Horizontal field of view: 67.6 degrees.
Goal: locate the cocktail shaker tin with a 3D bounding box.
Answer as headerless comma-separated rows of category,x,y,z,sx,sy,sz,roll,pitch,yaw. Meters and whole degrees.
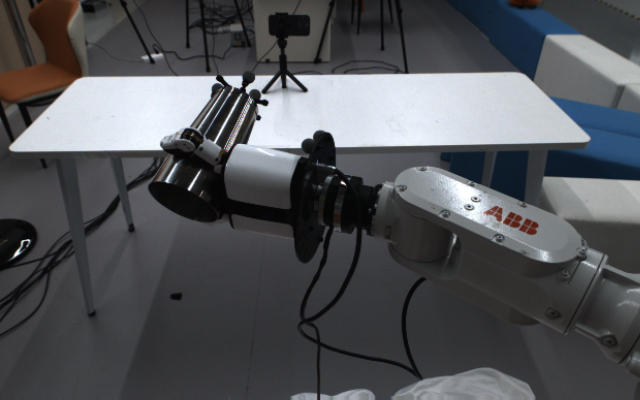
cocktail shaker tin,-0.145,-0.066,0.636,0.093,0.093,0.170,13,61,16
